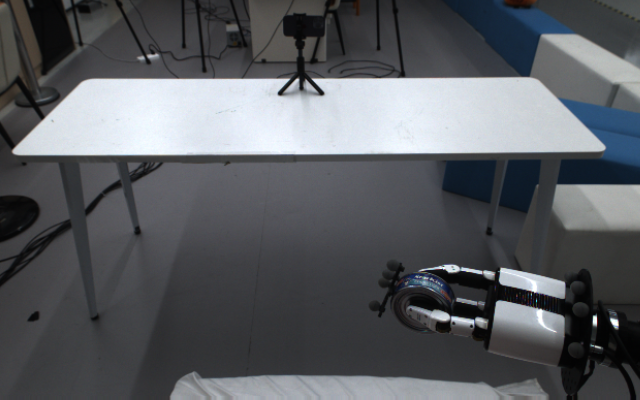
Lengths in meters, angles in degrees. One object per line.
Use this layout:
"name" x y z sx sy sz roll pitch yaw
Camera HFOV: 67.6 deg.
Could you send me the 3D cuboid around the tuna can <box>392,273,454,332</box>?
"tuna can" 0.146 0.142 0.674 0.085 0.085 0.034 12 29 14
